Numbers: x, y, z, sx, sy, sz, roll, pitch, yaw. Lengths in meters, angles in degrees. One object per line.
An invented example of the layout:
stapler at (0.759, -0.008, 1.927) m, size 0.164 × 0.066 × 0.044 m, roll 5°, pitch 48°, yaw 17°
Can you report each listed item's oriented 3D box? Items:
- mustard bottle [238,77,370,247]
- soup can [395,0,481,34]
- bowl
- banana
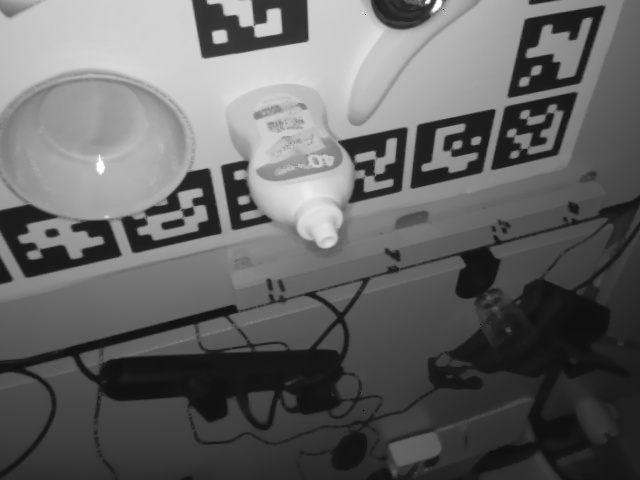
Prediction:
mustard bottle at (-0.008, -0.068, 0.623) m, size 0.097 × 0.192 × 0.058 m, roll -10°, pitch 140°, yaw -13°
soup can at (0.084, -0.226, 0.570) m, size 0.068 × 0.102 × 0.067 m, roll -12°, pitch 139°, yaw -9°
bowl at (-0.195, -0.106, 0.622) m, size 0.163 × 0.055 × 0.160 m, roll -15°, pitch 139°, yaw -12°
banana at (0.109, -0.185, 0.687) m, size 0.195 × 0.039 × 0.075 m, roll -43°, pitch 145°, yaw 22°
